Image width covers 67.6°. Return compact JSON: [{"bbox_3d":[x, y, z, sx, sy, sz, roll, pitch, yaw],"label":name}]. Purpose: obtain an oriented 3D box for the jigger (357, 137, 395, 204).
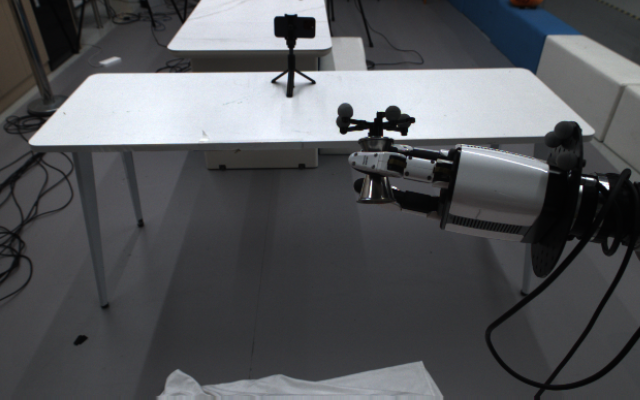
[{"bbox_3d":[0.061,-0.032,0.530,0.043,0.071,0.043,1,-5,0],"label":"jigger"}]
